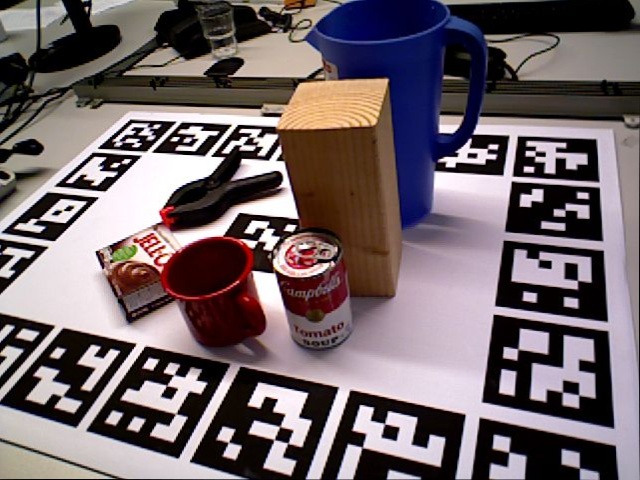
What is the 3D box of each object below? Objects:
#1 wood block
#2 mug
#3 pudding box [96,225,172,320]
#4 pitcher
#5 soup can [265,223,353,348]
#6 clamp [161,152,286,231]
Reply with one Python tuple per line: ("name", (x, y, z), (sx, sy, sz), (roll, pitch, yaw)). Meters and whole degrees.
("wood block", (0.029, -0.051, 0.532), (0.090, 0.210, 0.089), (7, 42, 15))
("mug", (-0.099, 0.057, 0.537), (0.091, 0.083, 0.117), (-28, 41, -23))
("pudding box", (-0.214, 0.032, 0.635), (0.088, 0.039, 0.113), (-31, 43, -18))
("pitcher", (0.088, -0.137, 0.595), (0.190, 0.247, 0.130), (4, 39, 21))
("soup can", (-0.007, 0.045, 0.511), (0.068, 0.104, 0.067), (-7, 42, 6))
("clamp", (-0.143, -0.064, 0.739), (0.162, 0.037, 0.122), (-36, 53, -25))
